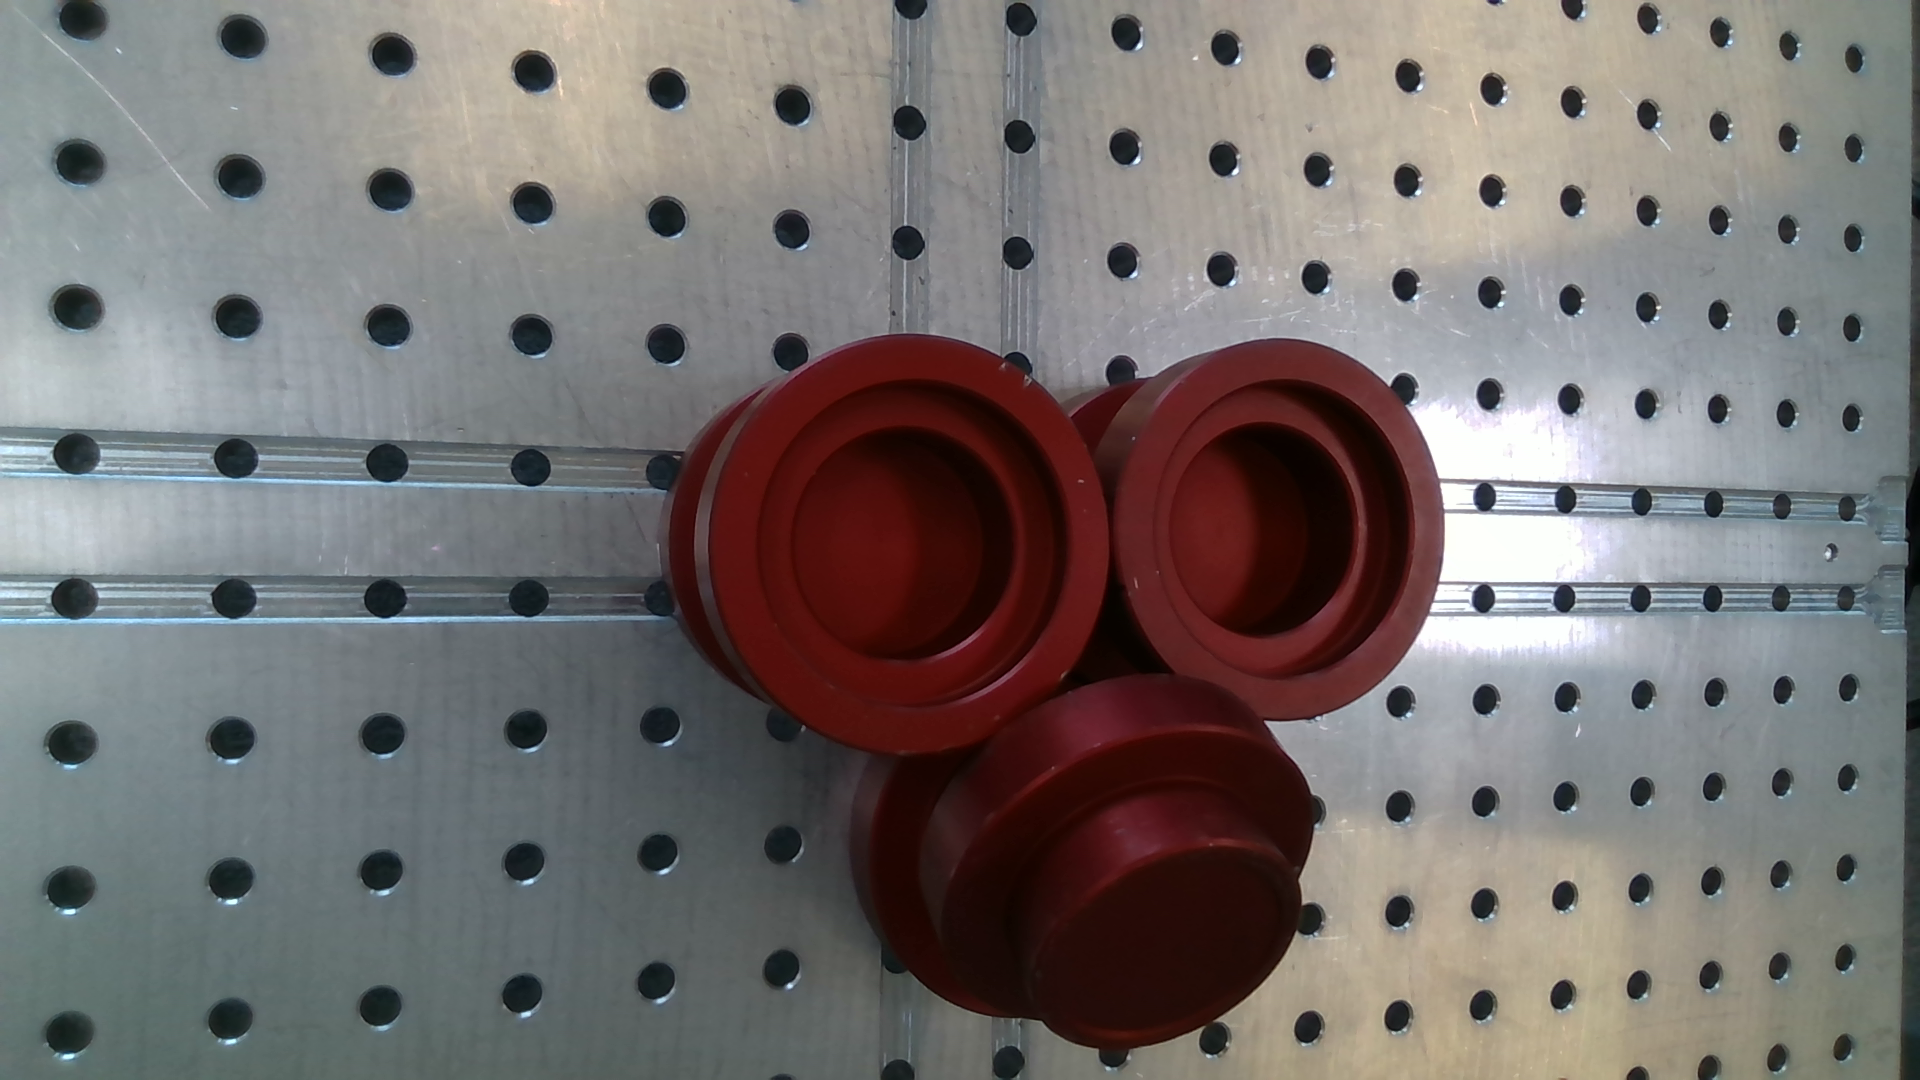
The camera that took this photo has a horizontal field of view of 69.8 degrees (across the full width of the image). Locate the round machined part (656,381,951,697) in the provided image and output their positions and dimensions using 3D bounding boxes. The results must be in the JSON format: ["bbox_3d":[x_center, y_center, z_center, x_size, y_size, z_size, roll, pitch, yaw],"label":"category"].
[{"bbox_3d":[-0.031,0.000,0.377,0.098,0.042,0.098,0,90,-20],"label":"round machined part"}]

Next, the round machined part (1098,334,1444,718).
[{"bbox_3d":[0.077,-0.003,0.370,0.098,0.042,0.098,0,90,-20],"label":"round machined part"}]

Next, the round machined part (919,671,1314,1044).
[{"bbox_3d":[0.043,0.083,0.336,0.098,0.042,0.098,-10,125,-15],"label":"round machined part"}]

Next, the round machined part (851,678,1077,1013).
[{"bbox_3d":[0.021,0.087,0.396,0.098,0.042,0.098,0,90,-20],"label":"round machined part"}]

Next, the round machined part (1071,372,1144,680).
[{"bbox_3d":[0.062,-0.002,0.411,0.098,0.042,0.098,0,90,-20],"label":"round machined part"}]

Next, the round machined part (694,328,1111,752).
[{"bbox_3d":[-0.016,0.000,0.336,0.098,0.042,0.098,0,90,-20],"label":"round machined part"}]
